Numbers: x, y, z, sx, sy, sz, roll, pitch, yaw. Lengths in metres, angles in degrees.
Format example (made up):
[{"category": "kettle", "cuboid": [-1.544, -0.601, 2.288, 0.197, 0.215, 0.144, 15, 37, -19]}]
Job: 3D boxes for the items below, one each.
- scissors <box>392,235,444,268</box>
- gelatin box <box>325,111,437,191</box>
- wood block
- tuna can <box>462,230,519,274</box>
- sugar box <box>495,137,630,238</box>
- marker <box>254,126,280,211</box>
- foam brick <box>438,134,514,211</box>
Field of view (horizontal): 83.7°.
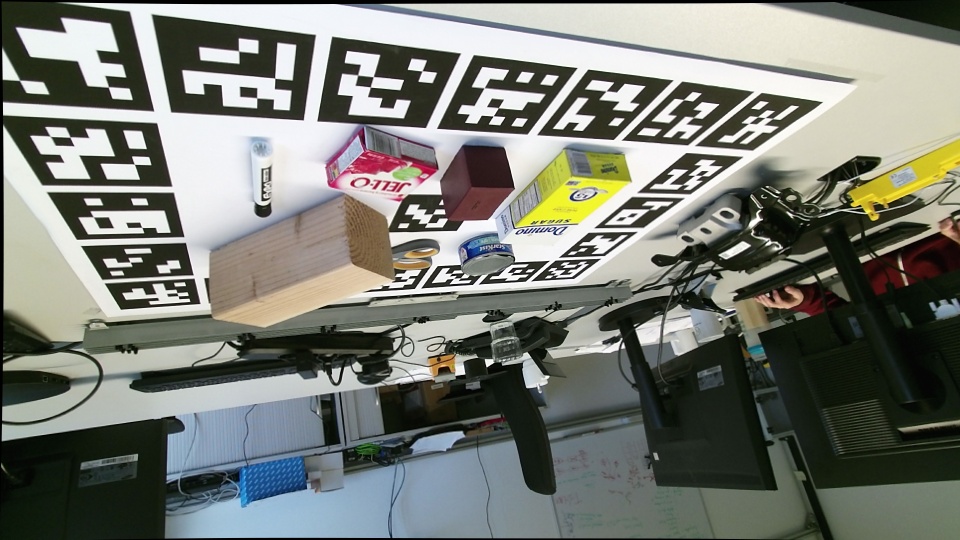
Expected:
[{"category": "scissors", "cuboid": [-0.147, -0.024, 0.770, 0.203, 0.016, 0.088, -2, 155, -33]}, {"category": "gelatin box", "cuboid": [-0.101, -0.118, 0.551, 0.090, 0.030, 0.073, 6, 150, -42]}, {"category": "wood block", "cuboid": [-0.223, -0.014, 0.656, 0.207, 0.090, 0.090, -21, 158, 18]}, {"category": "tuna can", "cuboid": [0.016, -0.027, 0.832, 0.086, 0.033, 0.086, -13, 158, -5]}, {"category": "sugar box", "cuboid": [0.101, -0.101, 0.703, 0.093, 0.045, 0.176, -1, 154, -29]}, {"category": "marker", "cuboid": [-0.216, -0.097, 0.539, 0.020, 0.019, 0.121, -3, 153, -26]}, {"category": "foam brick", "cuboid": [-0.007, -0.107, 0.597, 0.053, 0.051, 0.078, -4, 155, -27]}]
